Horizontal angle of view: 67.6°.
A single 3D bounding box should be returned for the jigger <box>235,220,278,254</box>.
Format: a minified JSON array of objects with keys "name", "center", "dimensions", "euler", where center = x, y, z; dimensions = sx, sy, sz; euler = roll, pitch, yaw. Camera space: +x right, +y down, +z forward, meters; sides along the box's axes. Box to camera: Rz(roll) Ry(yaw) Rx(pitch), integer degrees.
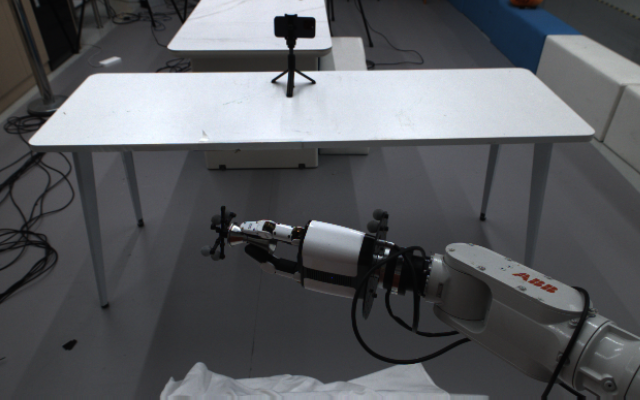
[{"name":"jigger","center":[-0.098,0.054,0.752],"dimensions":[0.071,0.043,0.043],"euler":[7,35,12]}]
